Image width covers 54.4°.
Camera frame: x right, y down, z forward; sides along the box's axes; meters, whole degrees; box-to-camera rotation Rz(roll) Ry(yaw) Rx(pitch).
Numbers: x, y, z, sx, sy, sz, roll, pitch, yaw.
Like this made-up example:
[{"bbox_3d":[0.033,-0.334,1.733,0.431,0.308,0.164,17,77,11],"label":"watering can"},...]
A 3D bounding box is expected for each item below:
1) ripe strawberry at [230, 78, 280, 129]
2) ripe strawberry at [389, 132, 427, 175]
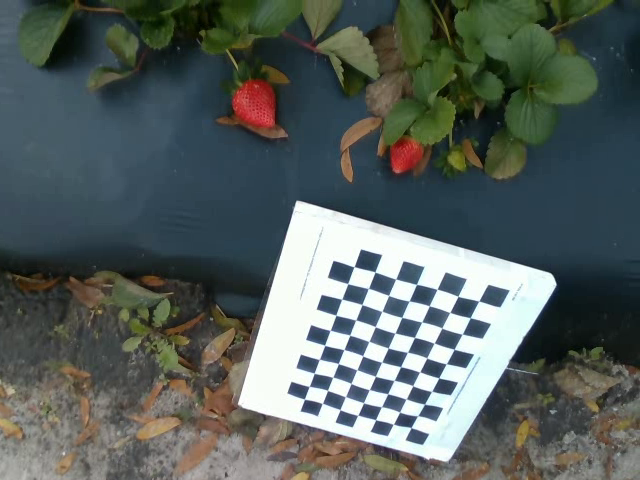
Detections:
[{"bbox_3d":[-0.060,-0.128,0.612,0.042,0.047,0.065,-5,43,-38],"label":"ripe strawberry"},{"bbox_3d":[0.086,-0.082,0.627,0.040,0.042,0.037,25,-19,-10],"label":"ripe strawberry"}]
